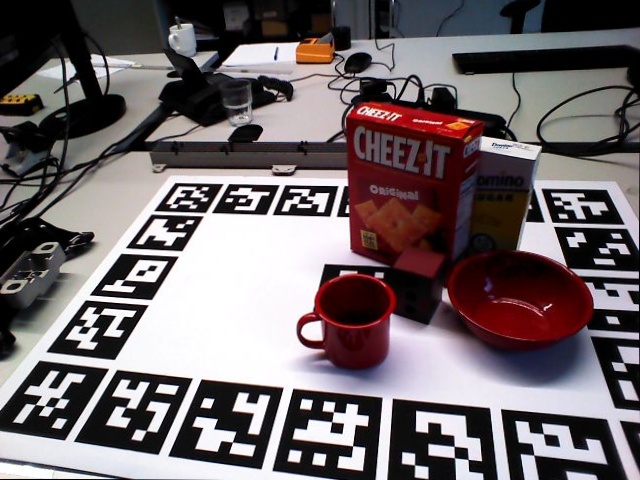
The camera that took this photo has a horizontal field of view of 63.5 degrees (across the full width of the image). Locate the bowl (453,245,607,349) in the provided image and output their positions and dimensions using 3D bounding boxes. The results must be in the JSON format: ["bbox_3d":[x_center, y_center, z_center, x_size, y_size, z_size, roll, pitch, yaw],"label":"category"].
[{"bbox_3d":[0.237,0.073,0.602,0.162,0.055,0.161,-4,36,3],"label":"bowl"}]

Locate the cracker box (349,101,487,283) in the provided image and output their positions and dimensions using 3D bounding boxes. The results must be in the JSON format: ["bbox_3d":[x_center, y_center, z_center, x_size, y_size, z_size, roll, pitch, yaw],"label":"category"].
[{"bbox_3d":[0.121,-0.064,0.696,0.165,0.214,0.071,24,43,34],"label":"cracker box"}]

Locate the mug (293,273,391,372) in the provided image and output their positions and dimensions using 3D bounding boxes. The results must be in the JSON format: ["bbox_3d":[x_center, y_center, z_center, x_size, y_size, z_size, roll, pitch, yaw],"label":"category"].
[{"bbox_3d":[0.024,0.096,0.594,0.117,0.081,0.093,-4,27,6],"label":"mug"}]

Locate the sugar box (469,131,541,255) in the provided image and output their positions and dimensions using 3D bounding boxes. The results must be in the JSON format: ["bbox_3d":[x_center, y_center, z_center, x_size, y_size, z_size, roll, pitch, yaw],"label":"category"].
[{"bbox_3d":[0.234,-0.053,0.693,0.093,0.177,0.045,16,41,29],"label":"sugar box"}]

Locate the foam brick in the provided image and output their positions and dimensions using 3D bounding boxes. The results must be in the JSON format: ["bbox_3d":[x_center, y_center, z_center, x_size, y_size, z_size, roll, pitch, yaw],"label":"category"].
[{"bbox_3d":[0.123,0.053,0.655,0.053,0.078,0.051,12,39,25],"label":"foam brick"}]
